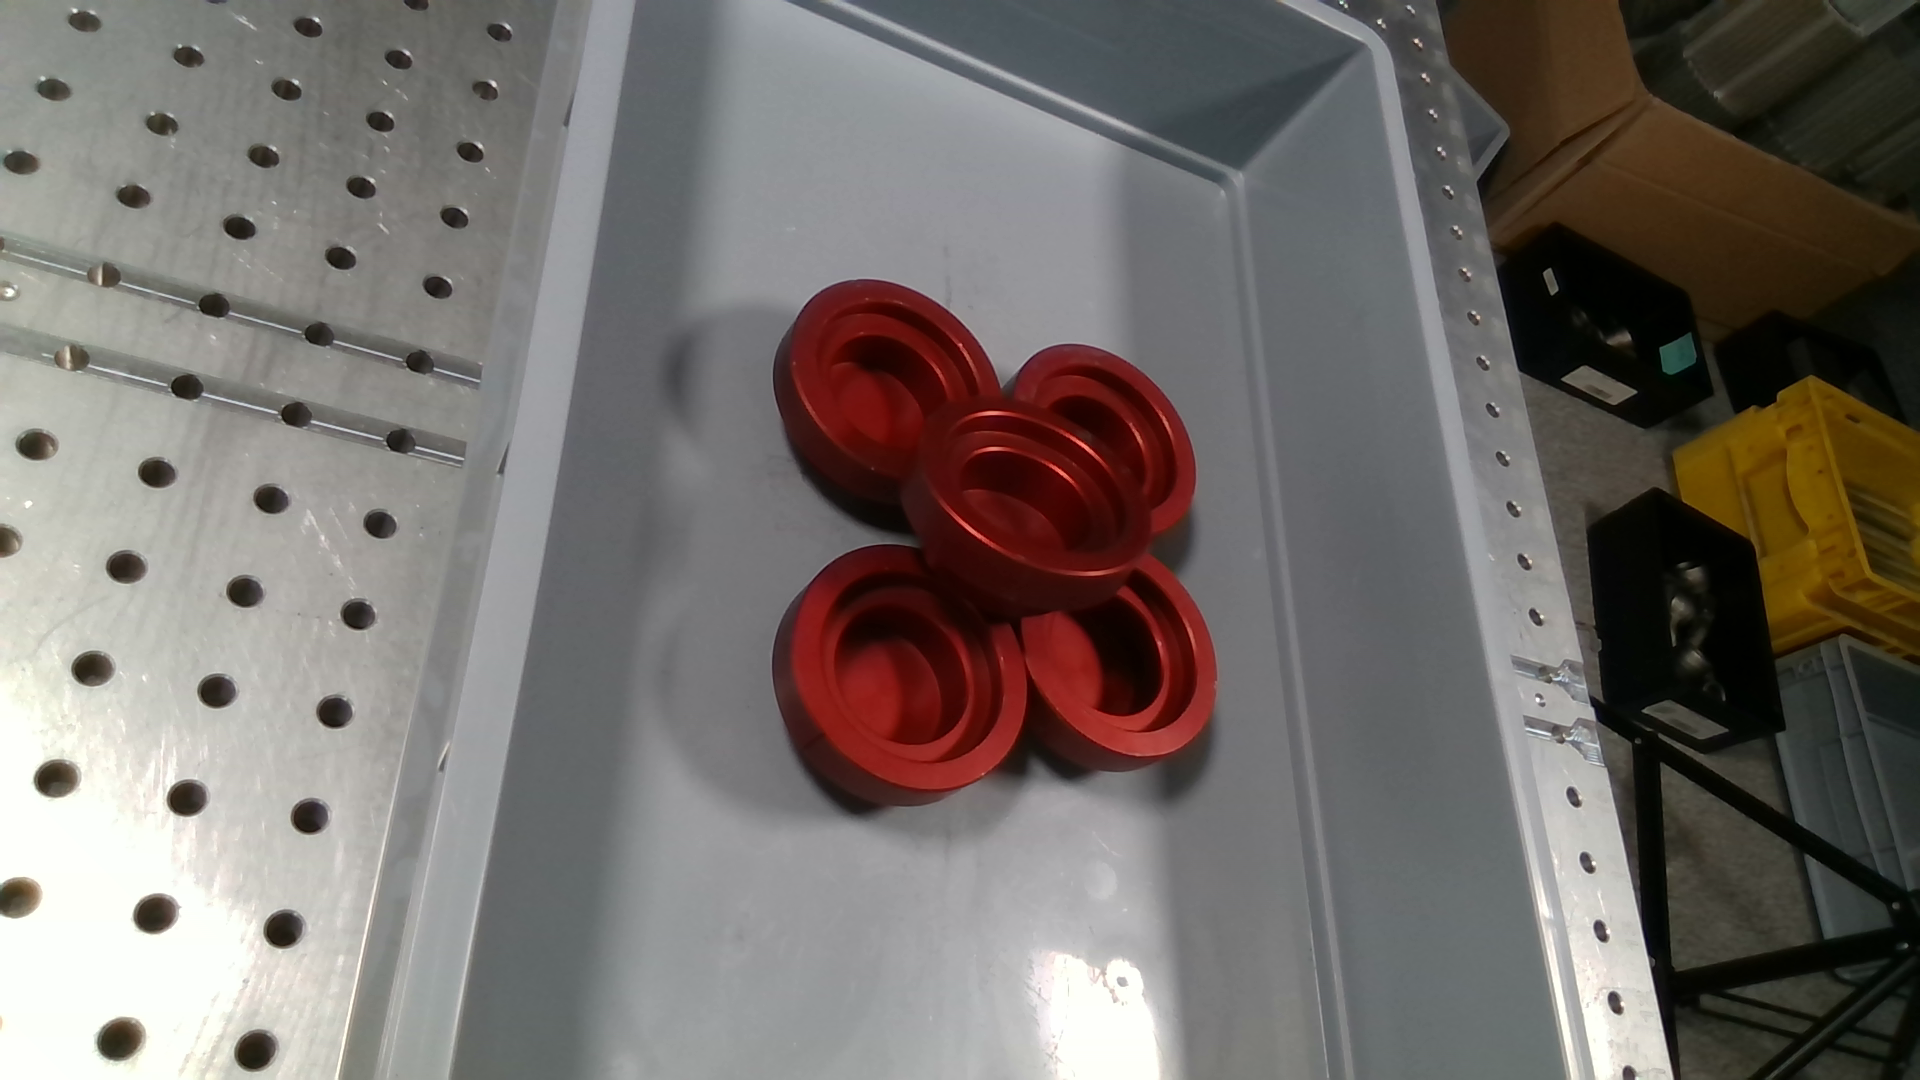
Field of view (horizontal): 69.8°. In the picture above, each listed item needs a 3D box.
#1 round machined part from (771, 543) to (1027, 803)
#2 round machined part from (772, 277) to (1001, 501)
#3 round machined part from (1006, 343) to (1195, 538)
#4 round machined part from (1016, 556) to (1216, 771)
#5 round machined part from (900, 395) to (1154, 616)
[{"bbox_3d":[-0.027,0.054,0.528,0.098,0.042,0.098,14,59,-25],"label":"round machined part"},{"bbox_3d":[-0.034,-0.059,0.584,0.098,0.042,0.098,14,59,-25],"label":"round machined part"},{"bbox_3d":[0.055,-0.037,0.628,0.098,0.042,0.098,14,59,-25],"label":"round machined part"},{"bbox_3d":[0.057,0.050,0.581,0.098,0.042,0.098,14,59,-25],"label":"round machined part"},{"bbox_3d":[0.022,-0.009,0.537,0.098,0.042,0.098,17,40,-15],"label":"round machined part"}]
